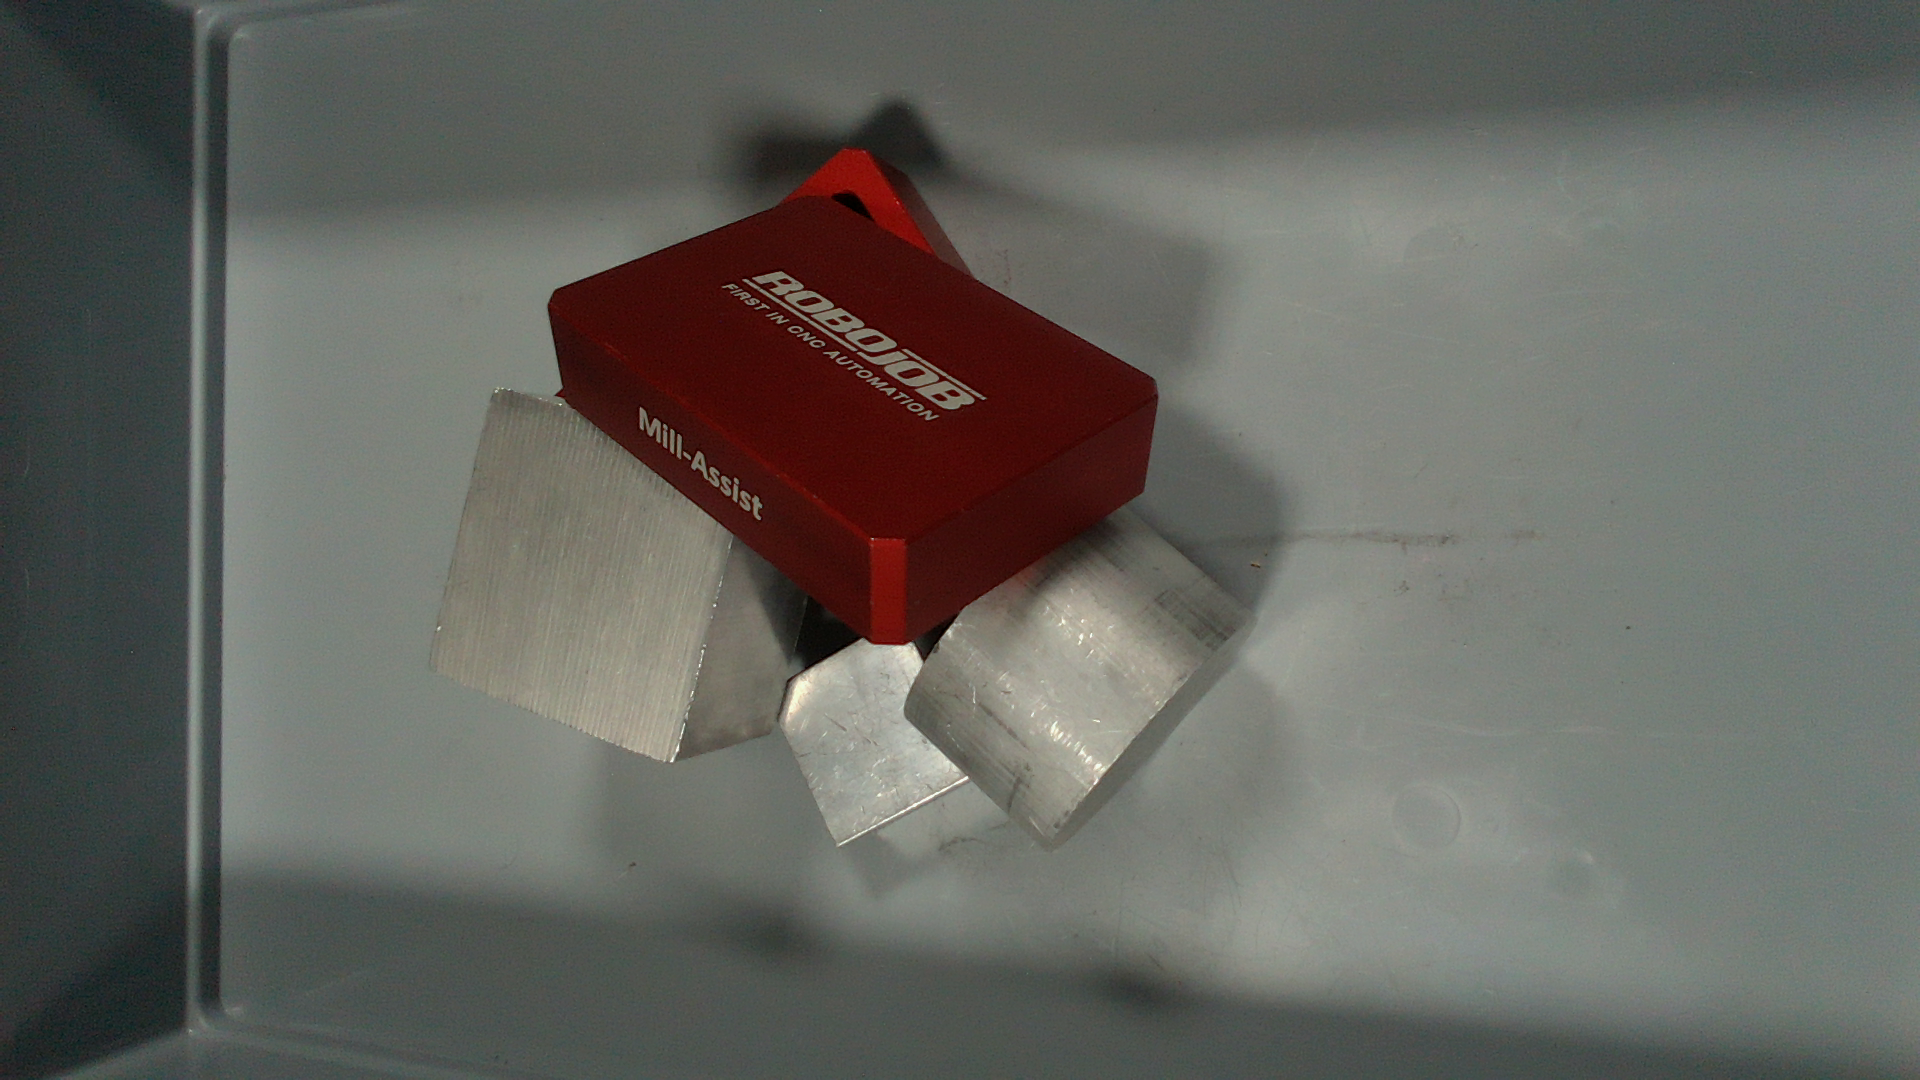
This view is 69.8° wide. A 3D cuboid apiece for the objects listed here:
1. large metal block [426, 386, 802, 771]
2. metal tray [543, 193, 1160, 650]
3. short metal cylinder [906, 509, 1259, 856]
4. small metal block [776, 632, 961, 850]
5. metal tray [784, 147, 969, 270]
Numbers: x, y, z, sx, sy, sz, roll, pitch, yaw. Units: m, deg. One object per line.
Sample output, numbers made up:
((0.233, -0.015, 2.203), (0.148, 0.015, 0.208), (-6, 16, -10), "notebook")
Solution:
((-0.090, 0.009, 0.380), (0.080, 0.050, 0.080), (17, 96, 19), "large metal block")
((-0.028, -0.037, 0.339), (0.130, 0.090, 0.030), (35, 140, 31), "metal tray")
((0.032, 0.034, 0.355), (0.050, 0.080, 0.080), (41, 103, 15), "short metal cylinder")
((-0.022, 0.055, 0.403), (0.050, 0.025, 0.050), (-31, 80, 17), "small metal block")
((-0.051, -0.040, 0.410), (0.130, 0.030, 0.090), (-36, 79, 16), "metal tray")
